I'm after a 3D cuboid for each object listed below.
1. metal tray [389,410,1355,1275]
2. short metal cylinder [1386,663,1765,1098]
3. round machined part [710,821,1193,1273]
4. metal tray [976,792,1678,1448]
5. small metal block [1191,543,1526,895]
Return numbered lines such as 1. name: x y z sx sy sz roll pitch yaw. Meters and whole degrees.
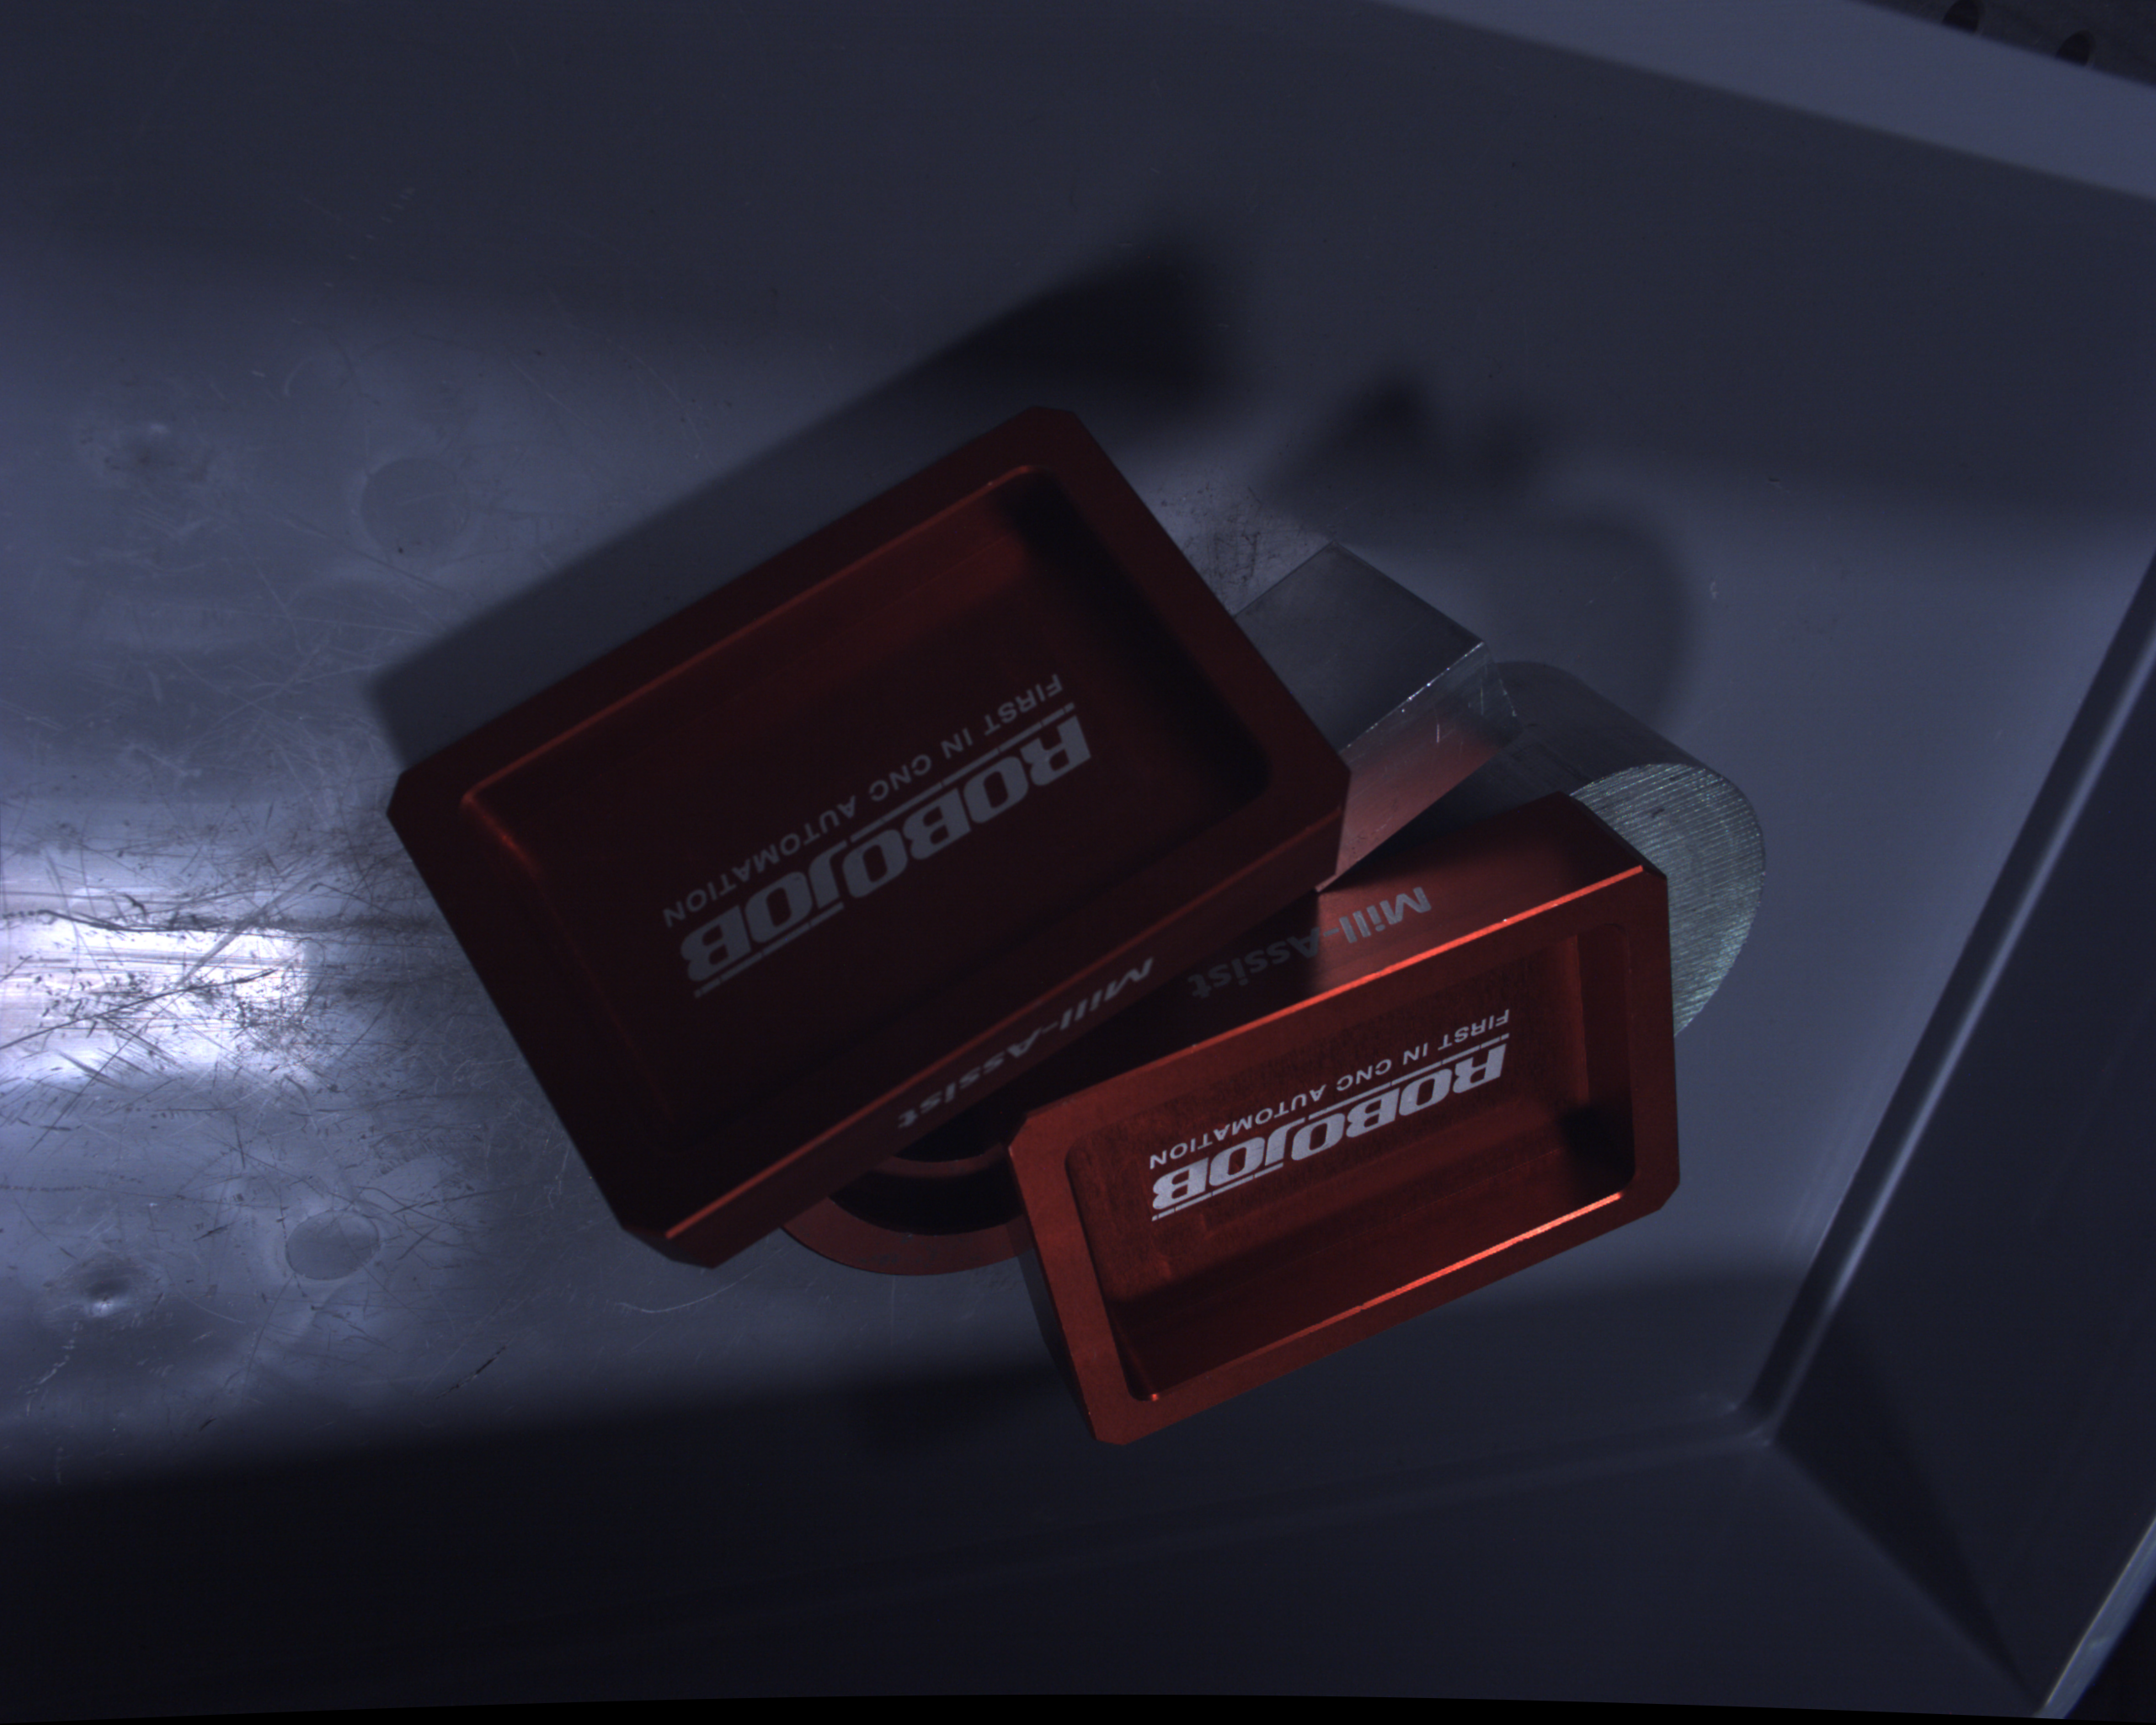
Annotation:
1. metal tray: -0.032 -0.005 0.342 0.131 0.090 0.030 -32 161 -8
2. short metal cylinder: 0.098 0.004 0.448 0.081 0.050 0.079 -14 125 -21
3. round machined part: -0.025 0.028 0.402 0.099 0.042 0.097 -14 125 -21
4. metal tray: 0.050 0.050 0.402 0.131 0.030 0.089 -21 126 -11
5. small metal block: 0.048 -0.029 0.400 0.050 0.050 0.025 -38 130 -5
